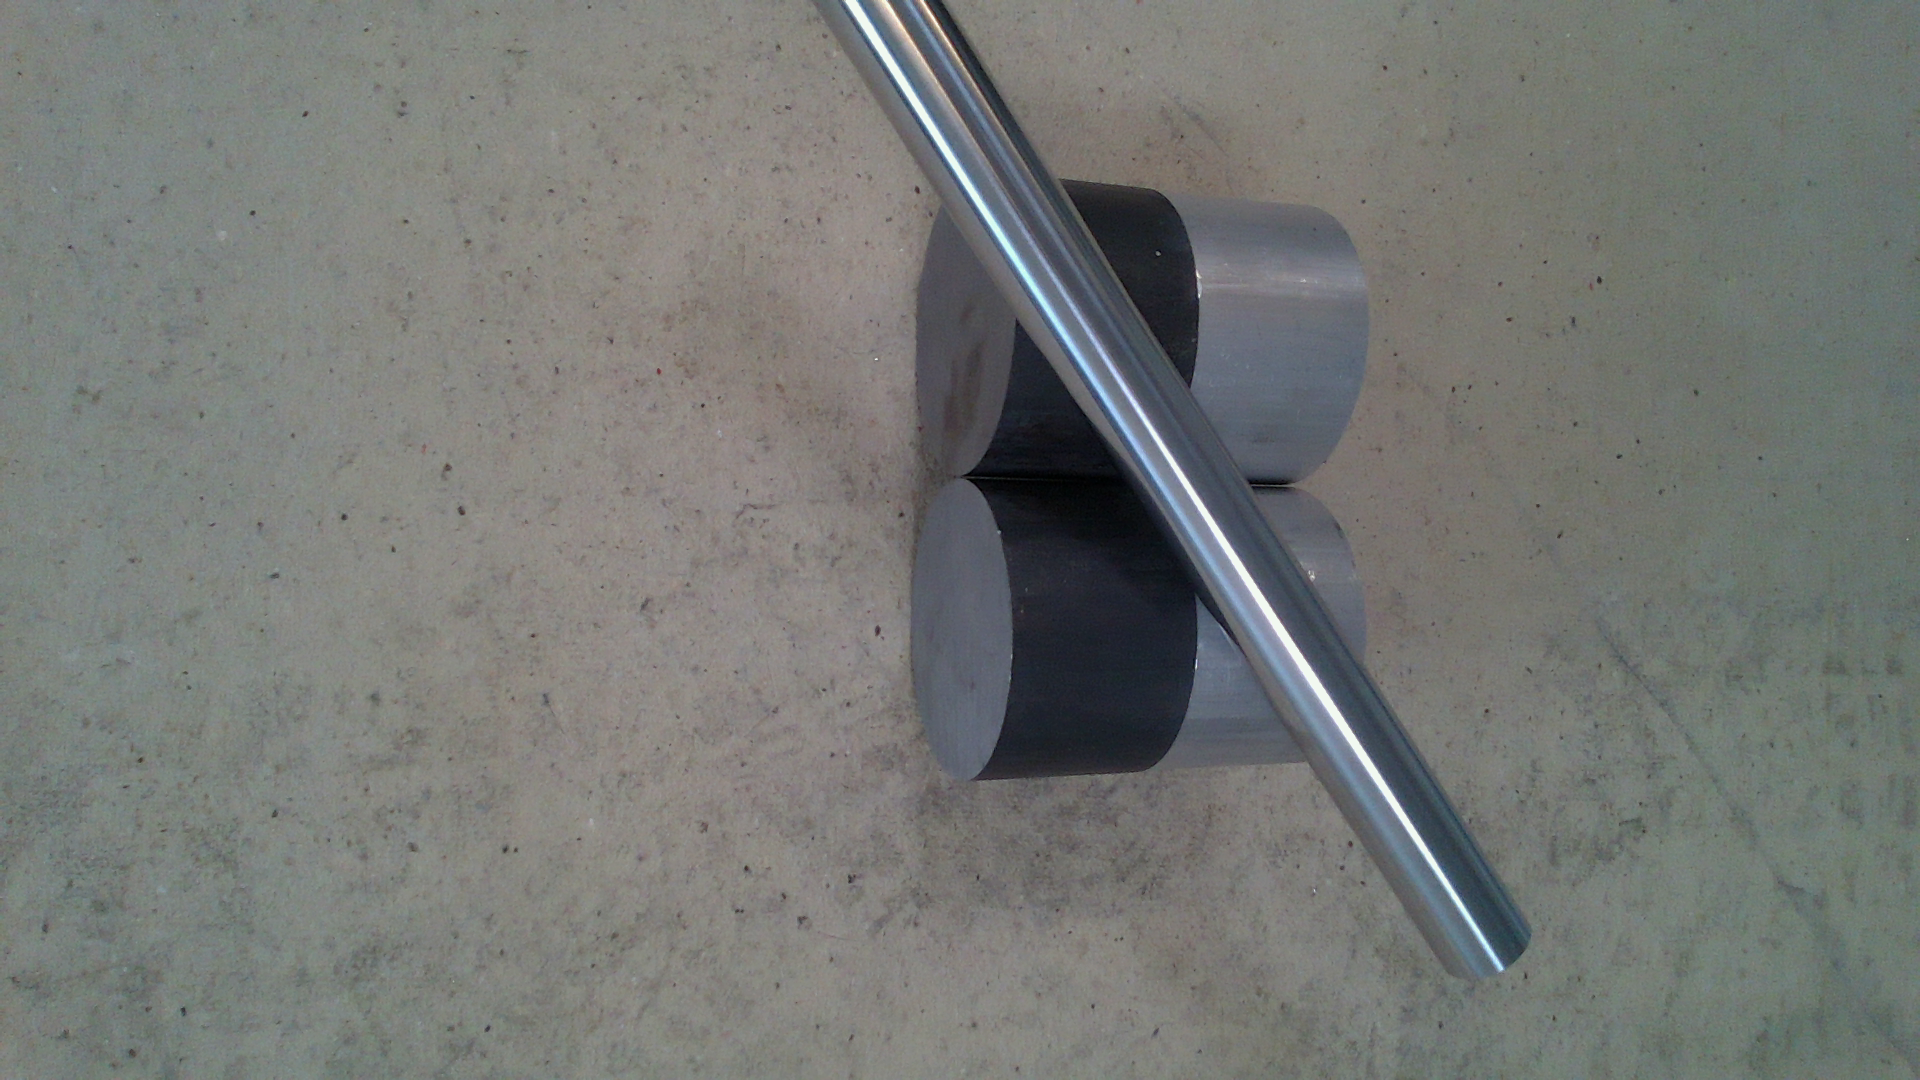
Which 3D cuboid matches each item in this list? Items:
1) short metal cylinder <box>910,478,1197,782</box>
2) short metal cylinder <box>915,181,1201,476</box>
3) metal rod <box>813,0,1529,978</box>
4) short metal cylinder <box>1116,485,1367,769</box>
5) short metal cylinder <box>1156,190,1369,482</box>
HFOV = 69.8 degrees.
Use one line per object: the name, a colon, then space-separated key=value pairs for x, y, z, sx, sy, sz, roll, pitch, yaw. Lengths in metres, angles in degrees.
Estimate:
short metal cylinder: x=0.022 y=0.024 z=0.373 sx=0.050 sy=0.080 sz=0.080 roll=1 pitch=90 yaw=-20
short metal cylinder: x=0.023 y=-0.057 z=0.373 sx=0.050 sy=0.080 sz=0.080 roll=1 pitch=90 yaw=-20
metal rod: x=0.053 y=-0.016 z=0.328 sx=0.025 sy=0.025 sz=0.300 roll=-38 pitch=102 yaw=-16
short metal cylinder: x=0.070 y=0.024 z=0.390 sx=0.050 sy=0.080 sz=0.080 roll=1 pitch=90 yaw=-20
short metal cylinder: x=0.070 y=-0.056 z=0.390 sx=0.050 sy=0.080 sz=0.080 roll=1 pitch=90 yaw=-20
